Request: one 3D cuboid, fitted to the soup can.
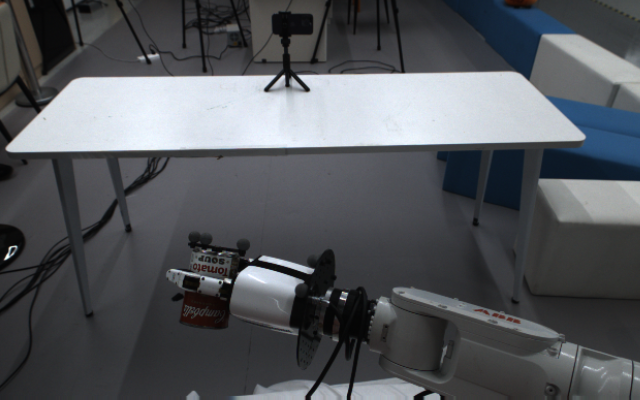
[{"bbox_3d":[-0.152,0.123,0.670,0.067,0.101,0.067,9,-6,1],"label":"soup can"}]
